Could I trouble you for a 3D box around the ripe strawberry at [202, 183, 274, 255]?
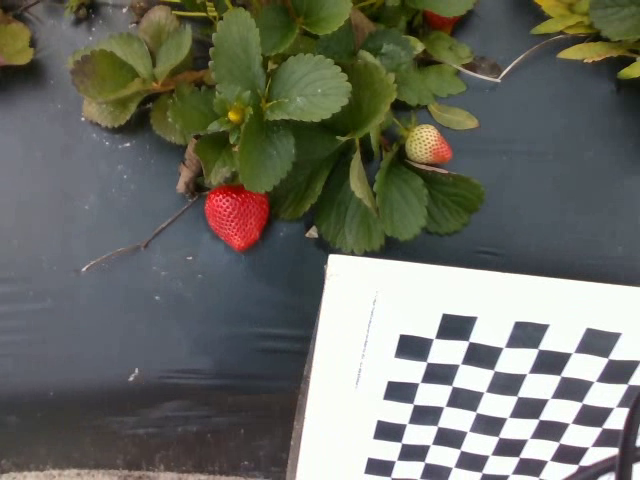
[{"bbox_3d":[-0.048,-0.013,0.395,0.037,0.046,0.036,-31,-27,30],"label":"ripe strawberry"}]
